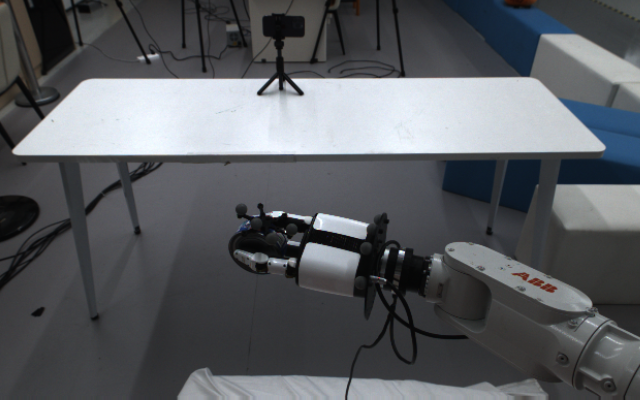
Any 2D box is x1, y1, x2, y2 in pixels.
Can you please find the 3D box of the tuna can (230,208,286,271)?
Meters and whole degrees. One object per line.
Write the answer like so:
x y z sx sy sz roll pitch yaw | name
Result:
-0.093 0.073 0.745 0.085 0.085 0.034 9 35 10 | tuna can
